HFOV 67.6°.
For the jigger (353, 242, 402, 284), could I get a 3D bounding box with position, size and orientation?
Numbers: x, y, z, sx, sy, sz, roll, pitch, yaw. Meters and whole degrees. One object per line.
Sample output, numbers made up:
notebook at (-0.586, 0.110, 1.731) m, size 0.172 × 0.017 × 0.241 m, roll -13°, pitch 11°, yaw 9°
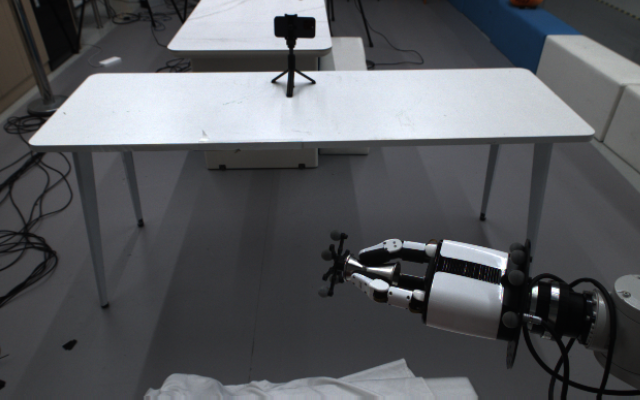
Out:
jigger at (0.076, 0.095, 0.654) m, size 0.071 × 0.043 × 0.043 m, roll 10°, pitch 35°, yaw 22°
